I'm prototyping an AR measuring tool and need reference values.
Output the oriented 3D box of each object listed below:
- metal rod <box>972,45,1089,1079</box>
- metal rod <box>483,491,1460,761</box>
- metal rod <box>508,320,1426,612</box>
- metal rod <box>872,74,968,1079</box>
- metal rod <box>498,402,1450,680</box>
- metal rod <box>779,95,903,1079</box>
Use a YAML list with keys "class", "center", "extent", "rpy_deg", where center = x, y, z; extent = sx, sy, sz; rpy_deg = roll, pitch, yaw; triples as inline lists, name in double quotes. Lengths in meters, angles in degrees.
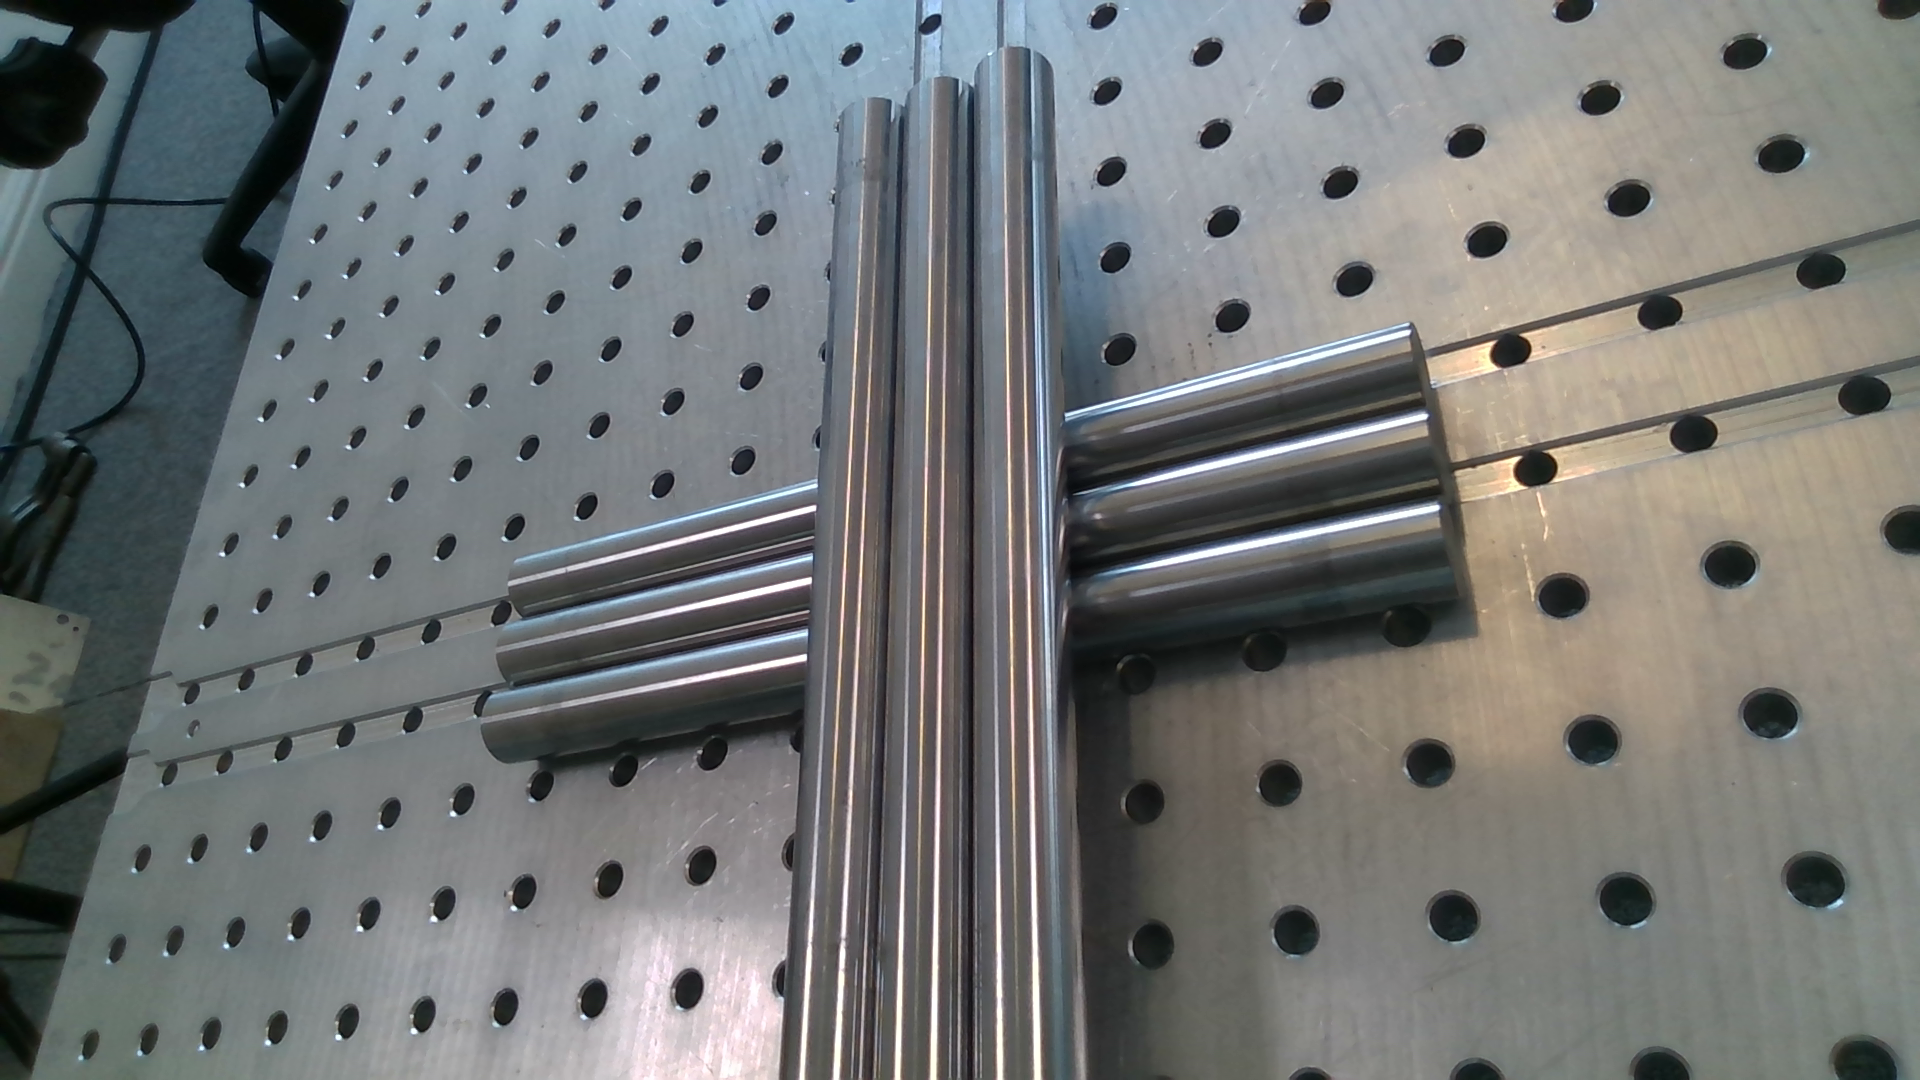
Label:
- class: "metal rod"
  center: [0.016, -0.012, 0.360]
  extent: [0.025, 0.025, 0.299]
  rpy_deg: [-14, 59, 25]
- class: "metal rod"
  center: [-0.016, 0.031, 0.390]
  extent: [0.300, 0.025, 0.025]
  rpy_deg: [-13, 59, 26]
- class: "metal rod"
  center: [-0.016, -0.013, 0.413]
  extent: [0.300, 0.025, 0.025]
  rpy_deg: [-13, 59, 26]
- class: "metal rod"
  center: [-0.006, -0.007, 0.371]
  extent: [0.025, 0.025, 0.299]
  rpy_deg: [-14, 59, 25]
- class: "metal rod"
  center: [-0.015, 0.008, 0.401]
  extent: [0.300, 0.025, 0.025]
  rpy_deg: [-13, 59, 26]
- class: "metal rod"
  center: [-0.028, -0.005, 0.383]
  extent: [0.025, 0.025, 0.299]
  rpy_deg: [-14, 59, 25]
